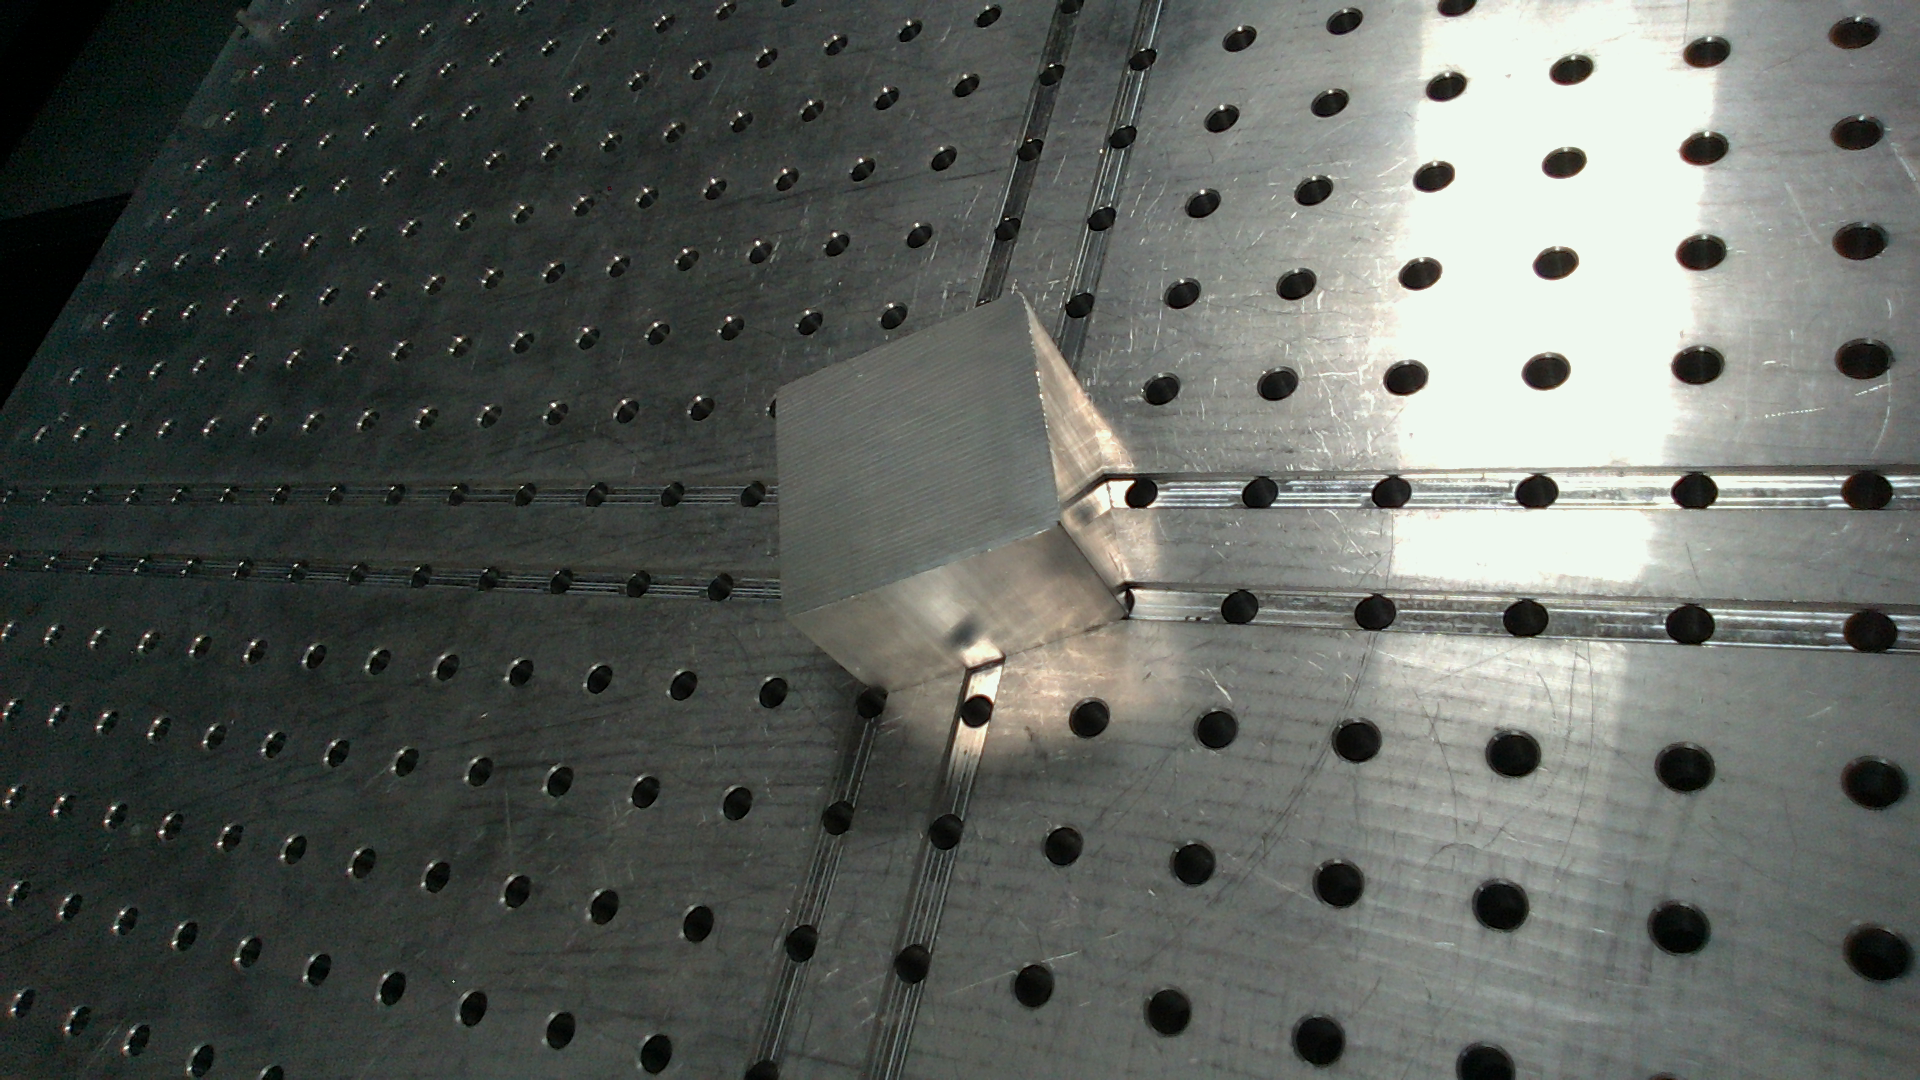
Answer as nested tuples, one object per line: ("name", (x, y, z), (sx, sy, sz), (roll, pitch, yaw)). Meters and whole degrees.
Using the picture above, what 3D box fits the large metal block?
("large metal block", (-0.004, -0.012, 0.387), (0.080, 0.050, 0.080), (-19, 54, 17))
